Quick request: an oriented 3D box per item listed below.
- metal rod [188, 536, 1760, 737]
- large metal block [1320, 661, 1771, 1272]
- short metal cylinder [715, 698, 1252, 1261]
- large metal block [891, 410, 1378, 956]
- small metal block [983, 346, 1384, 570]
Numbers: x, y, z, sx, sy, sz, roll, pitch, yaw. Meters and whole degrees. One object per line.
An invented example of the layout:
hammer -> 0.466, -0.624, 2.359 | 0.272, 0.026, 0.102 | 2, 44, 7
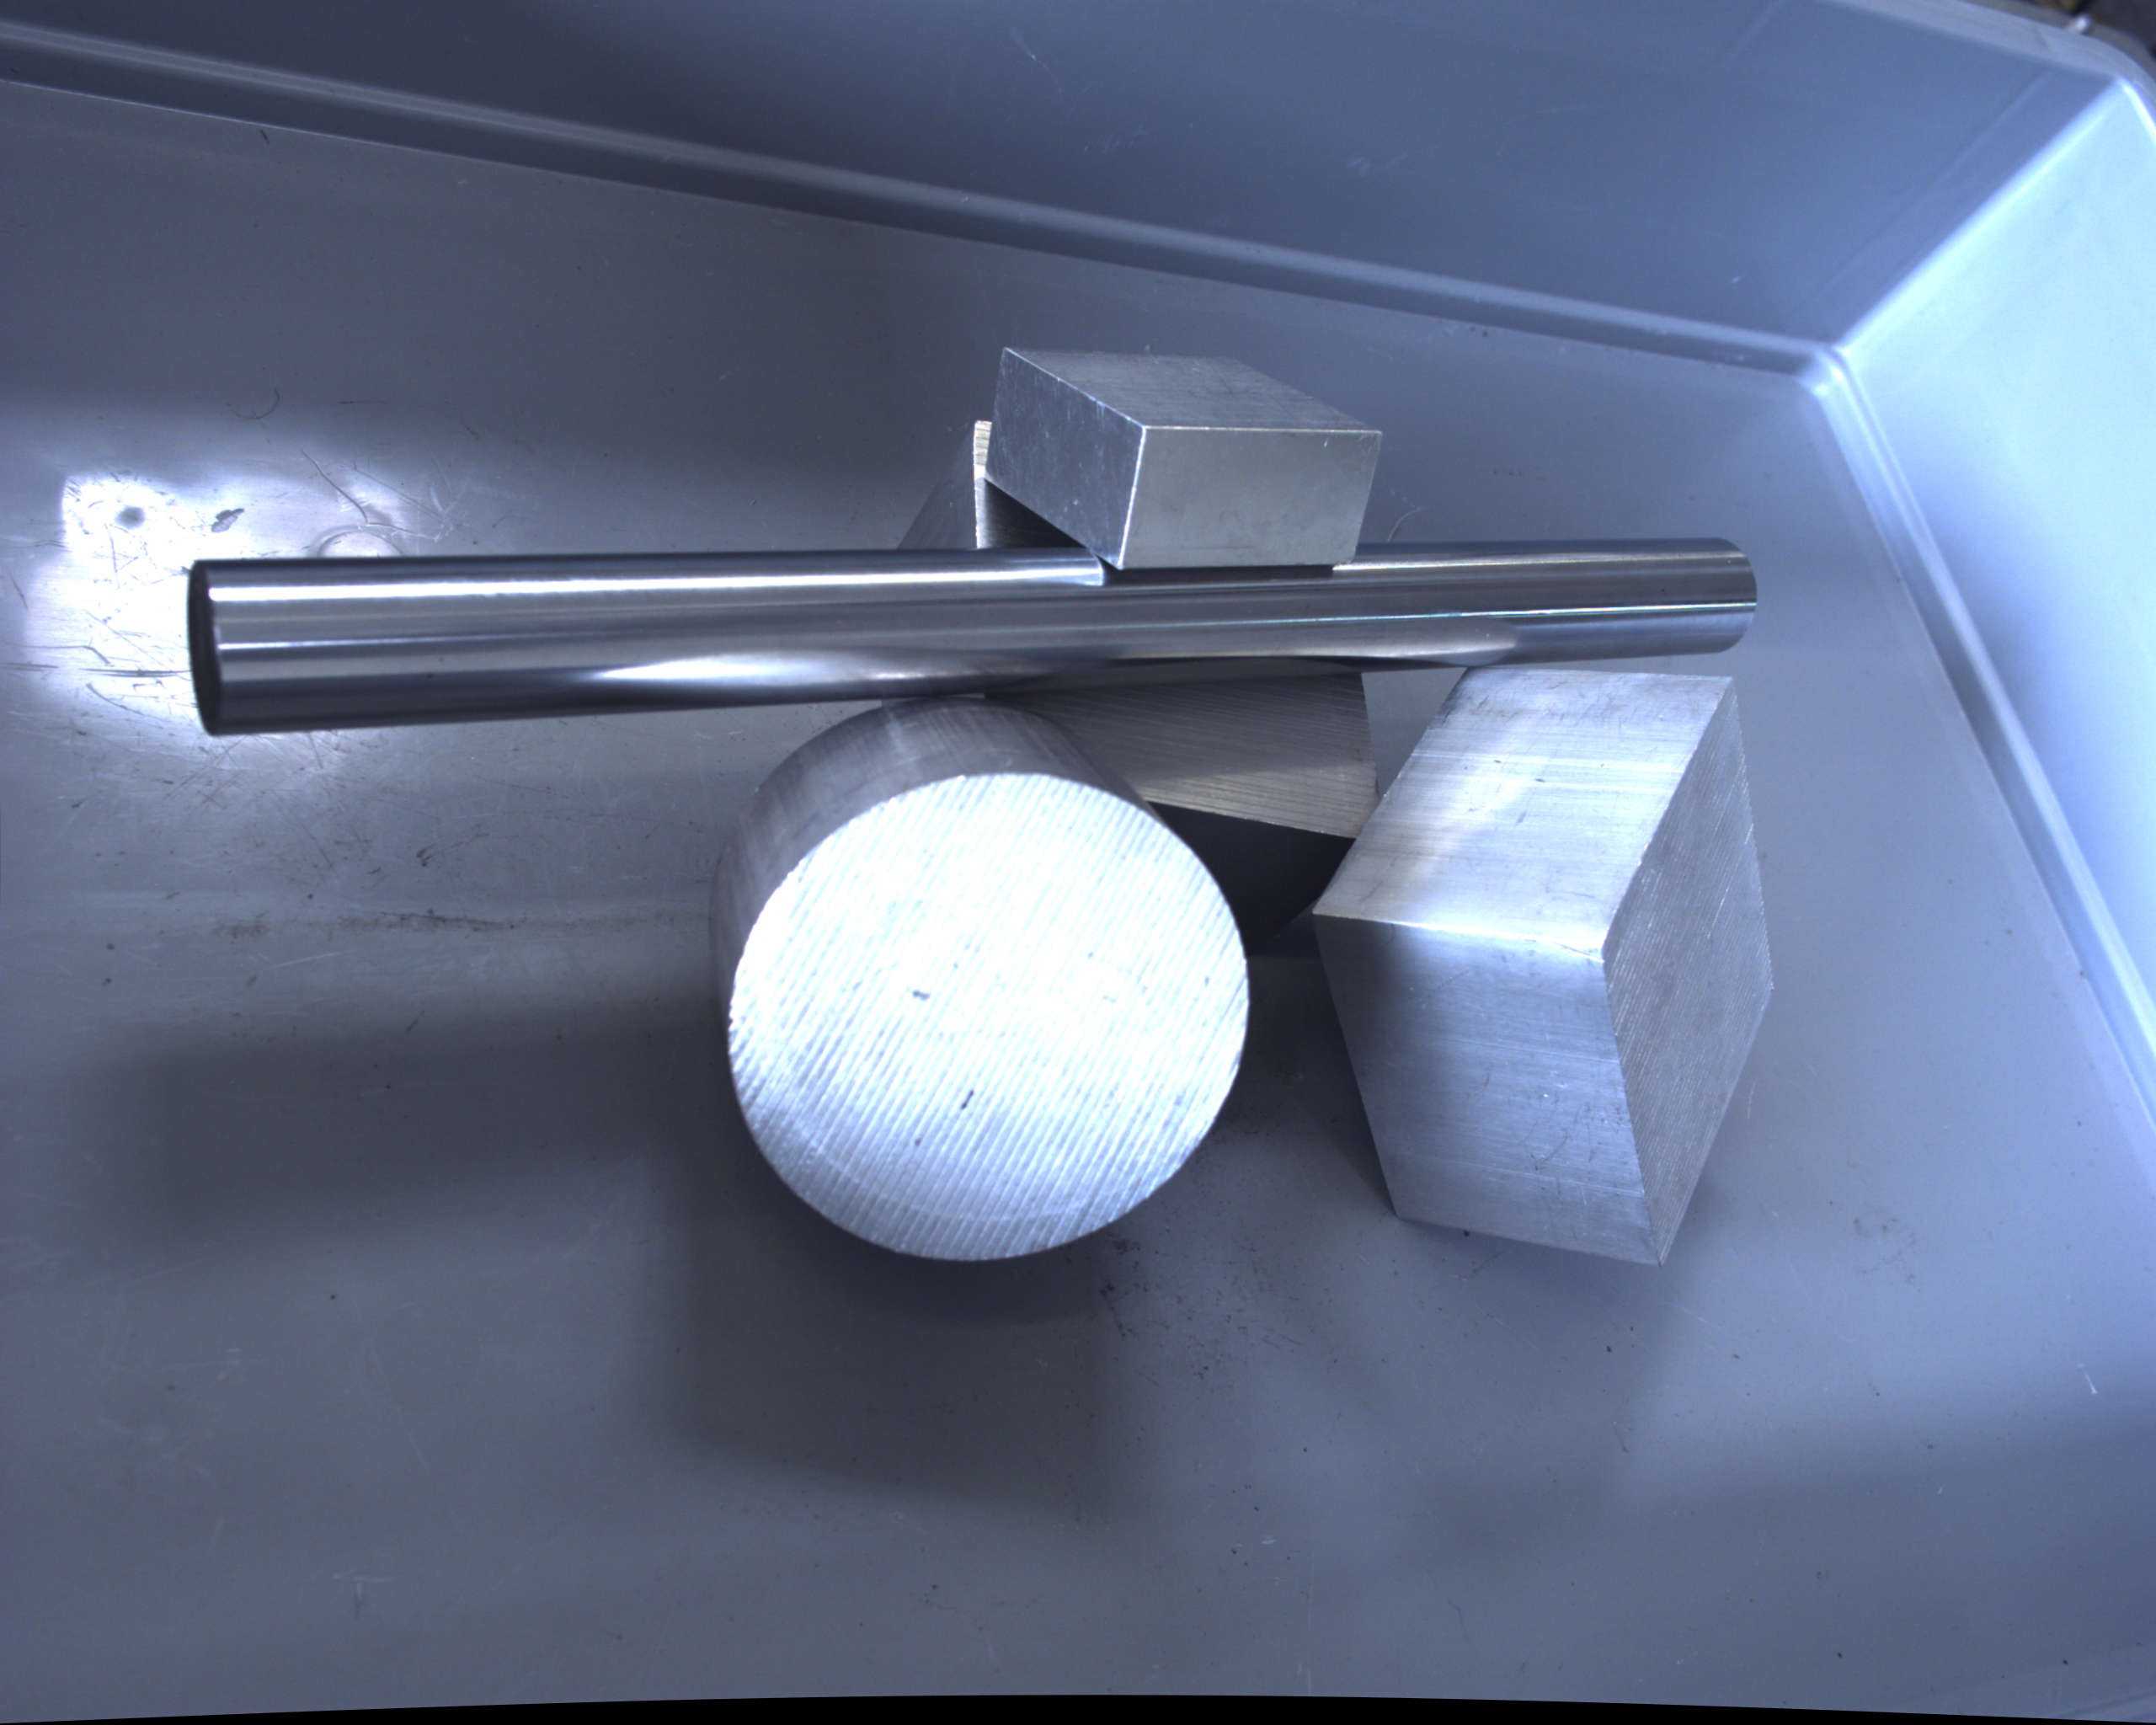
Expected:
metal rod -> 0.007, -0.044, 0.370 | 0.303, 0.025, 0.025 | -6, 65, -31
large metal block -> 0.093, 0.017, 0.400 | 0.080, 0.050, 0.080 | -53, 137, -39
short metal cylinder -> -0.018, 0.017, 0.340 | 0.081, 0.080, 0.050 | 18, 12, -18
large metal block -> 0.008, -0.033, 0.412 | 0.081, 0.050, 0.080 | 10, 57, -23
small metal block -> 0.018, -0.074, 0.379 | 0.050, 0.025, 0.050 | -6, 30, -31
